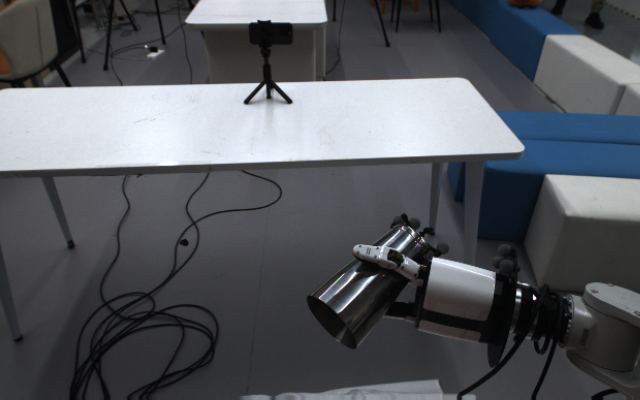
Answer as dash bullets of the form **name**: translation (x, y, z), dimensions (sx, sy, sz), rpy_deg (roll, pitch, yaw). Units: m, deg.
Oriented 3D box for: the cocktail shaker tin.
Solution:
- **cocktail shaker tin**: translation (0.073, 0.105, 0.666), dimensions (0.170, 0.093, 0.093), rpy_deg (-38, 49, -23)
